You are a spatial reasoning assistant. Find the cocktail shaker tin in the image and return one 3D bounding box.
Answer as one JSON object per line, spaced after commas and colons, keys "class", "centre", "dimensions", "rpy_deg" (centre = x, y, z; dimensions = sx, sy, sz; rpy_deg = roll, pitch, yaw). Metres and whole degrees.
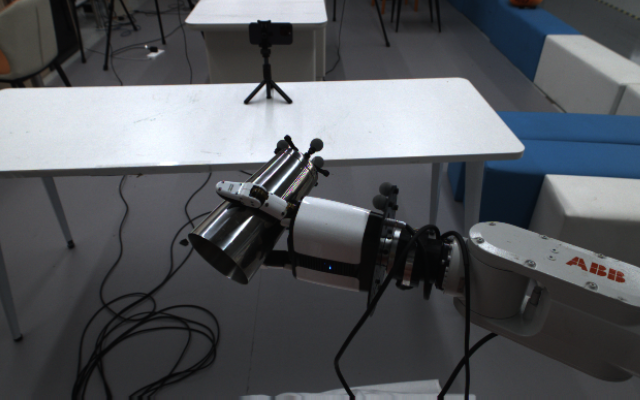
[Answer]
{"class": "cocktail shaker tin", "centre": [-0.077, 0.007, 0.618], "dimensions": [0.093, 0.093, 0.170], "rpy_deg": [23, 57, 27]}
